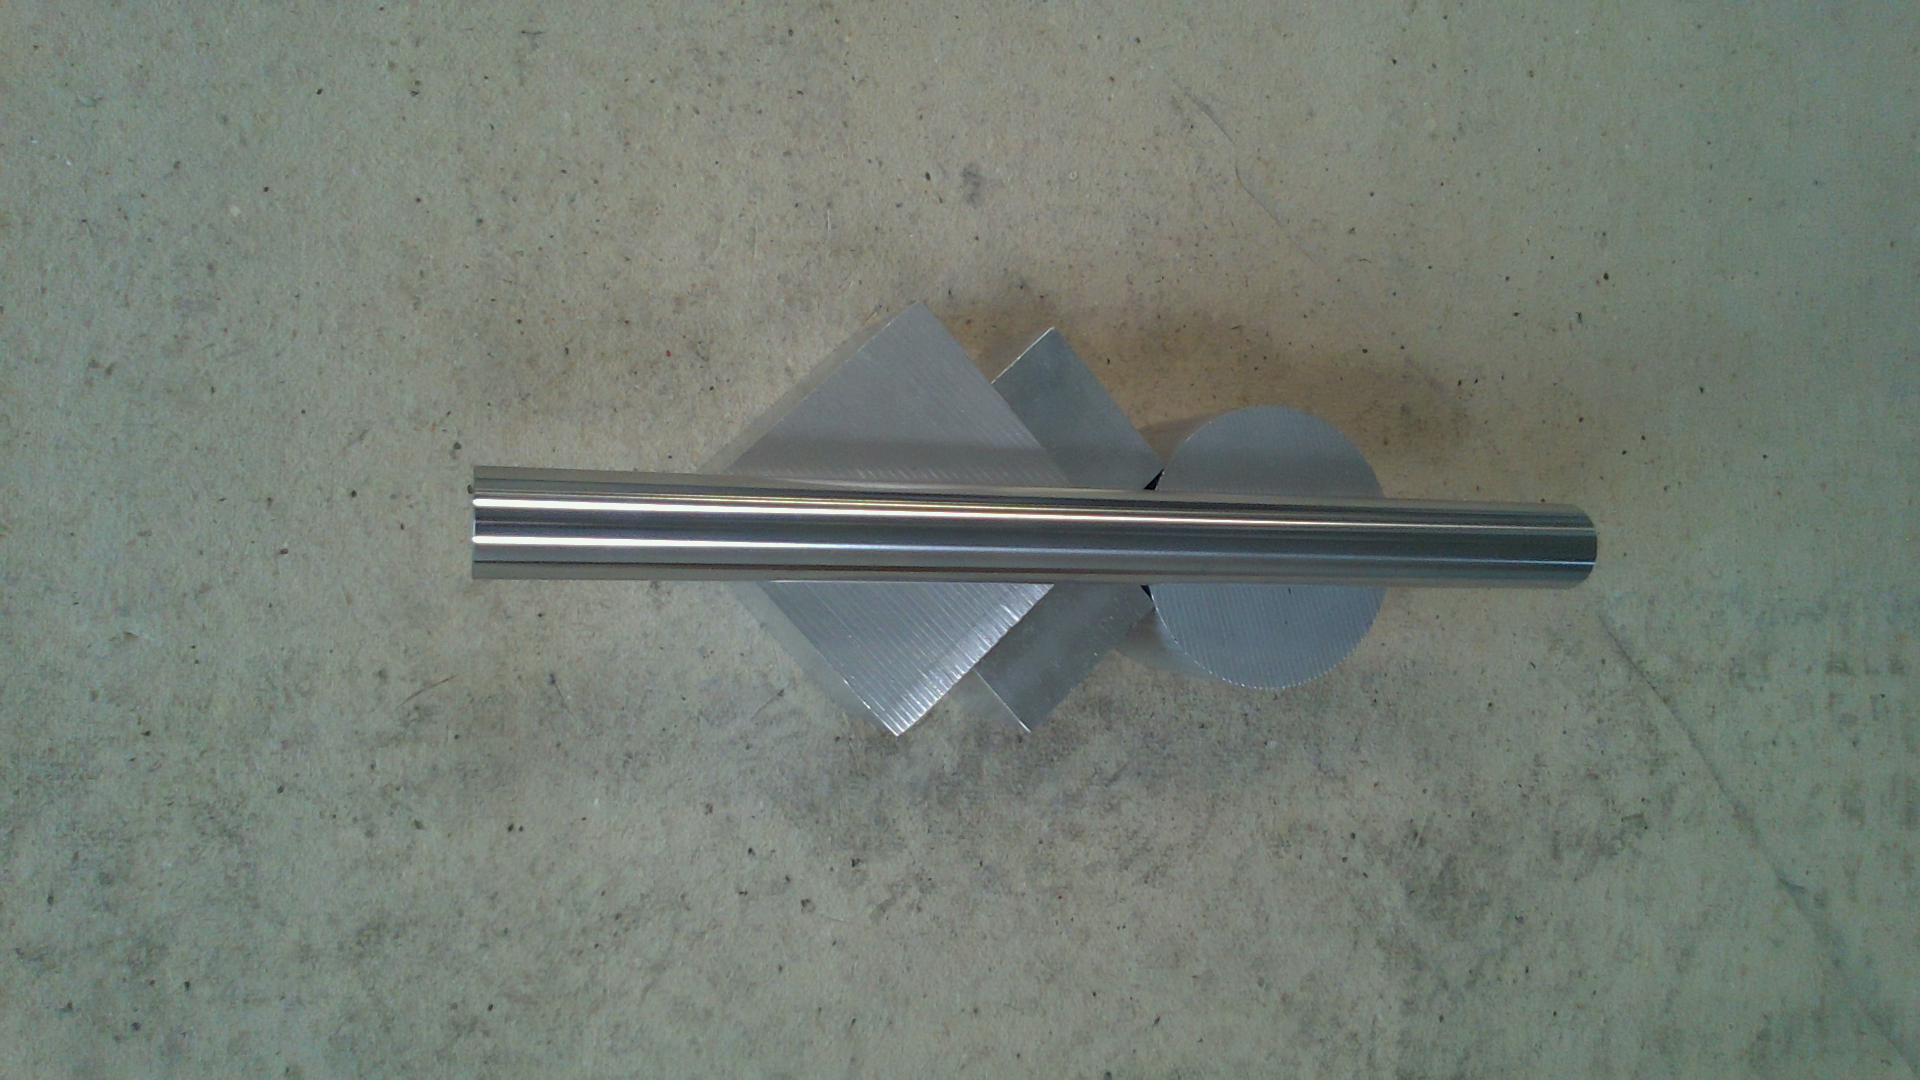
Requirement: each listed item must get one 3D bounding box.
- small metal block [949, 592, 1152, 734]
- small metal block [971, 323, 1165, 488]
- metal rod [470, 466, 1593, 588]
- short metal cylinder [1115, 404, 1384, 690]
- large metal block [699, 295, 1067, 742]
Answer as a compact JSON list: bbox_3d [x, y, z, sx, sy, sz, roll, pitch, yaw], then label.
[{"bbox_3d":[0.018,0.025,0.388,0.050,0.050,0.025,-44,104,-14],"label":"small metal block"},{"bbox_3d":[0.023,-0.031,0.389,0.025,0.050,0.050,-44,104,-14],"label":"small metal block"},{"bbox_3d":[0.035,-0.001,0.351,0.301,0.025,0.025,1,90,-20],"label":"metal rod"},{"bbox_3d":[0.079,0.002,0.408,0.080,0.050,0.080,0,90,-20],"label":"short metal cylinder"},{"bbox_3d":[-0.022,-0.006,0.371,0.080,0.050,0.080,-44,104,-15],"label":"large metal block"}]
